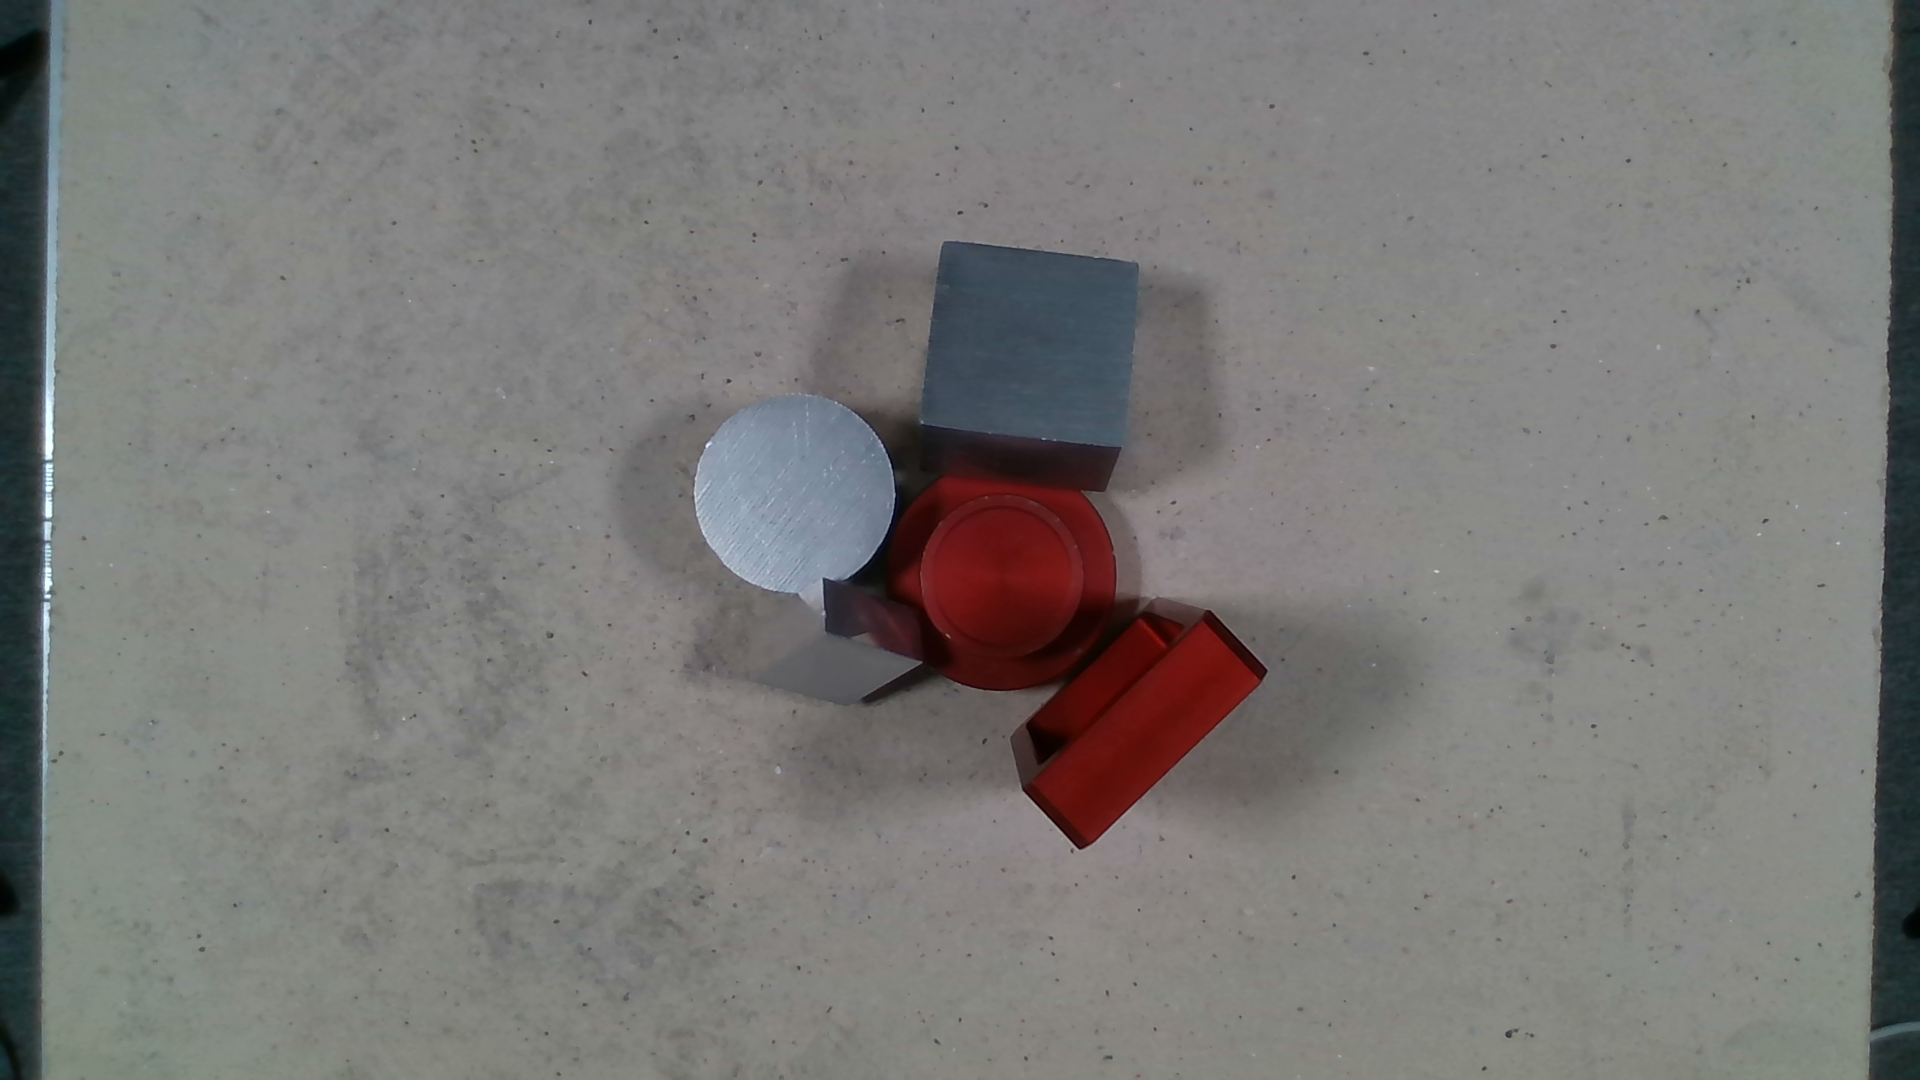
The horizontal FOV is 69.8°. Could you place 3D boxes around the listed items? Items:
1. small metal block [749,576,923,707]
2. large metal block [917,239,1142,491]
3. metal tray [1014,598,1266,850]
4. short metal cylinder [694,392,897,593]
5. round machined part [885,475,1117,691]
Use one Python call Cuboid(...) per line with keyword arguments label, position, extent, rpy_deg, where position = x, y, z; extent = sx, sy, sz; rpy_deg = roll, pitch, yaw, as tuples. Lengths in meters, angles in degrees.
Cuboid(label="small metal block", position=(-0.051, 0.043, 0.564), extent=(0.050, 0.050, 0.025), rpy_deg=(-32, 51, 37))
Cuboid(label="large metal block", position=(0.027, -0.070, 0.561), extent=(0.080, 0.050, 0.080), rpy_deg=(7, 73, 0))
Cuboid(label="metal tray", position=(0.063, 0.065, 0.534), extent=(0.090, 0.130, 0.030), rpy_deg=(-44, 90, 0))
Cuboid(label="short metal cylinder", position=(-0.066, -0.019, 0.575), extent=(0.080, 0.050, 0.080), rpy_deg=(0, 90, 0))
Cuboid(label="round machined part", position=(0.017, 0.015, 0.580), extent=(0.098, 0.042, 0.098), rpy_deg=(0, 90, 0))
